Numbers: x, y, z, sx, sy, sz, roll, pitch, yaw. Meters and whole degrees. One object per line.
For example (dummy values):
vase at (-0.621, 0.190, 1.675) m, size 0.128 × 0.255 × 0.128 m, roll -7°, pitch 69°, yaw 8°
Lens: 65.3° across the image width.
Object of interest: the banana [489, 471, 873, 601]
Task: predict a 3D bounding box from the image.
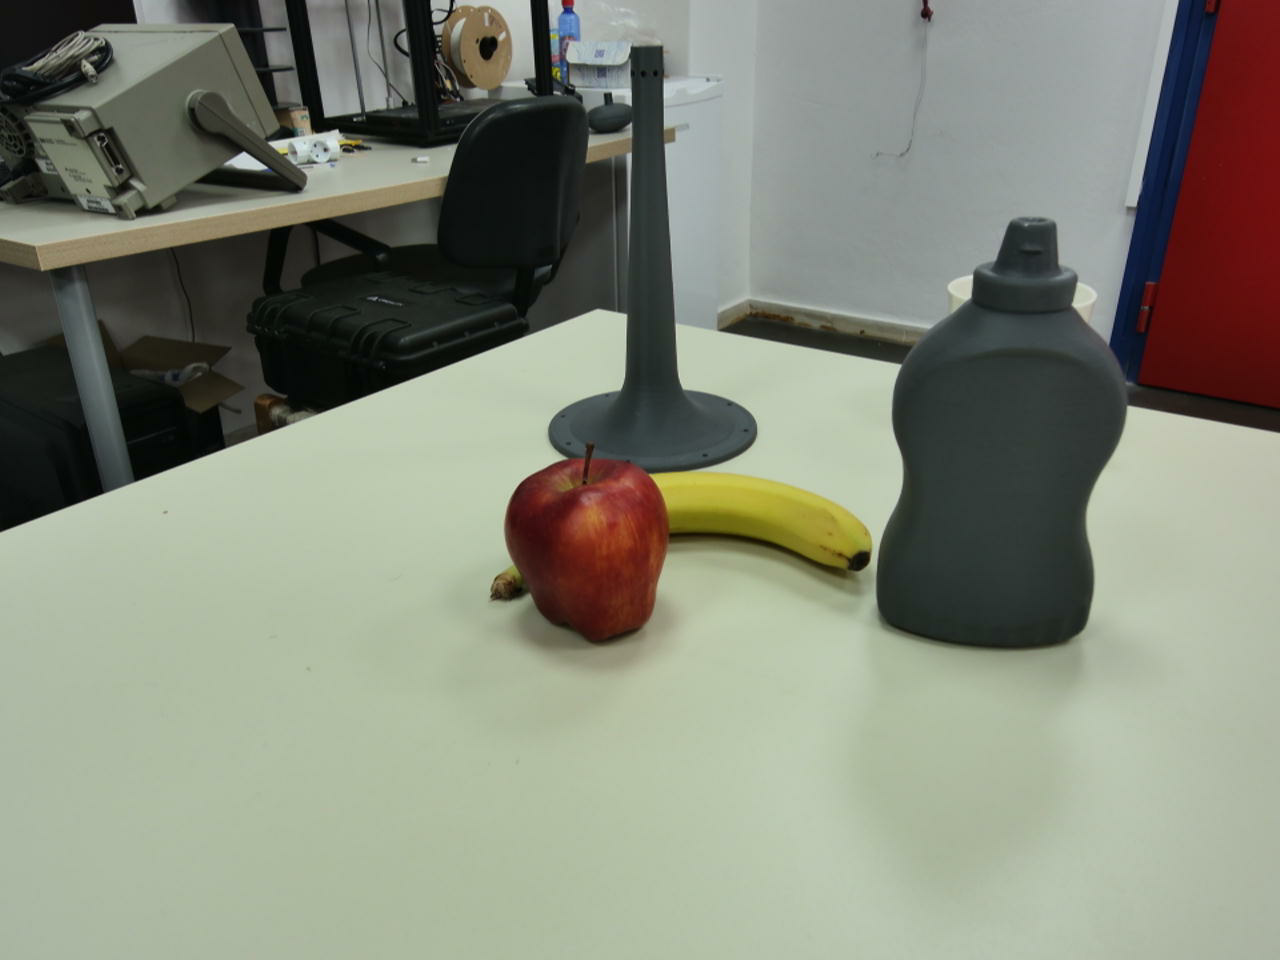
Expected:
banana at (0.022, 0.025, 0.547) m, size 0.196 × 0.041 × 0.094 m, roll 0°, pitch 24°, yaw 1°
